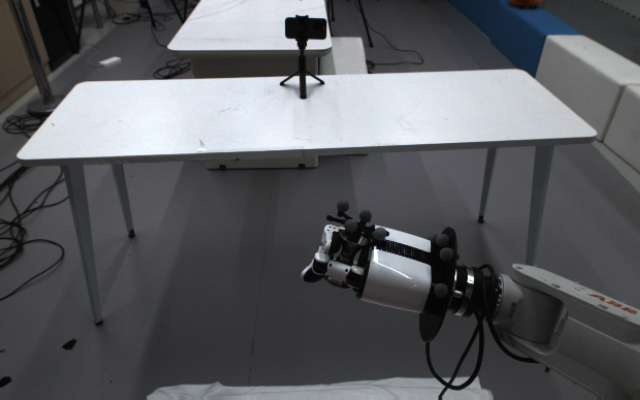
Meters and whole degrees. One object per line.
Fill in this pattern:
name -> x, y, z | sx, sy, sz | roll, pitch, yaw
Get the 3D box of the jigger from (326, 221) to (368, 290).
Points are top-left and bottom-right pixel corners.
jigger -> 0.036, 0.081, 0.664 | 0.043, 0.071, 0.043 | 18, 17, -6
